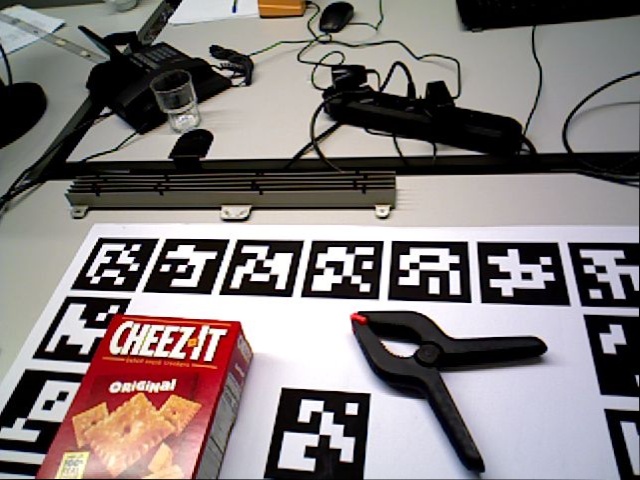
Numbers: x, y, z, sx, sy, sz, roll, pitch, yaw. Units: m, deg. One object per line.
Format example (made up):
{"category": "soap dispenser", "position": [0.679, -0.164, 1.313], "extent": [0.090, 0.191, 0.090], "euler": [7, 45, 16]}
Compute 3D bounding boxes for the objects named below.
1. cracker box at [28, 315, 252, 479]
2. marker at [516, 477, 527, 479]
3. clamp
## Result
{"category": "cracker box", "position": [-0.179, 0.181, 0.575], "extent": [0.164, 0.073, 0.209], "euler": [1, 47, 13]}
{"category": "marker", "position": [0.179, 0.261, 0.455], "extent": [0.020, 0.020, 0.119], "euler": [-3, 46, 9]}
{"category": "clamp", "position": [0.115, 0.127, 0.606], "extent": [0.203, 0.037, 0.162], "euler": [26, 55, 31]}
